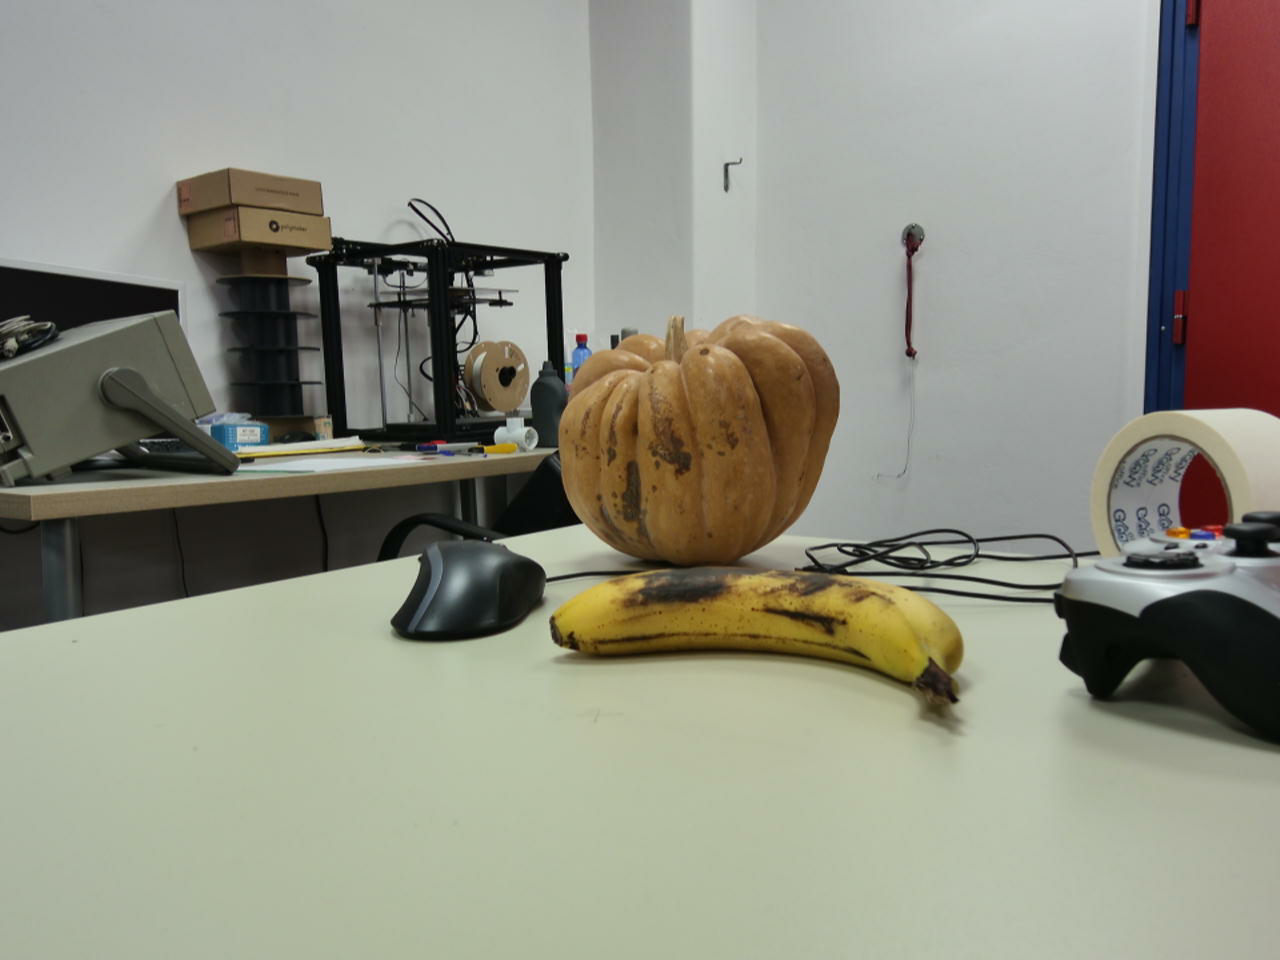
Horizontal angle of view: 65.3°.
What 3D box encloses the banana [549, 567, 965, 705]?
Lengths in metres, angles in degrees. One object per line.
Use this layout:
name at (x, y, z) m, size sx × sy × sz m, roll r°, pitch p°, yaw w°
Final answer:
banana at (0.059, 0.063, 0.440) m, size 0.187 × 0.039 × 0.094 m, roll 2°, pitch 4°, yaw 36°
